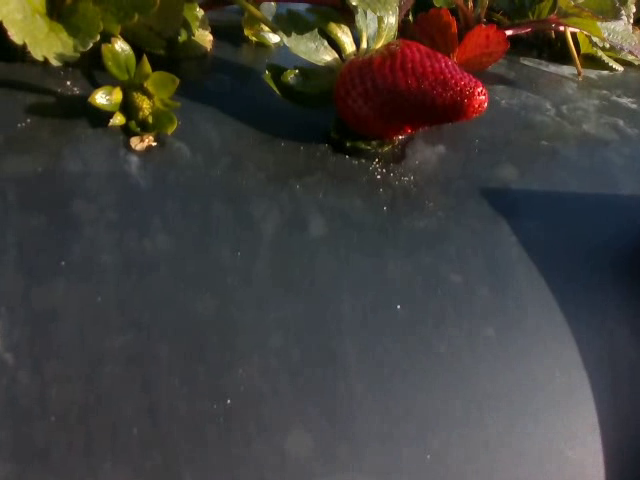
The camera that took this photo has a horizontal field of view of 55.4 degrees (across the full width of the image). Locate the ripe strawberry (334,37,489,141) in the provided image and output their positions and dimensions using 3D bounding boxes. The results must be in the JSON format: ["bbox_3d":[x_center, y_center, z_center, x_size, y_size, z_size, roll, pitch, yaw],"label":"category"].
[{"bbox_3d":[0.031,-0.048,0.197,0.056,0.041,0.041,20,-30,40],"label":"ripe strawberry"}]
